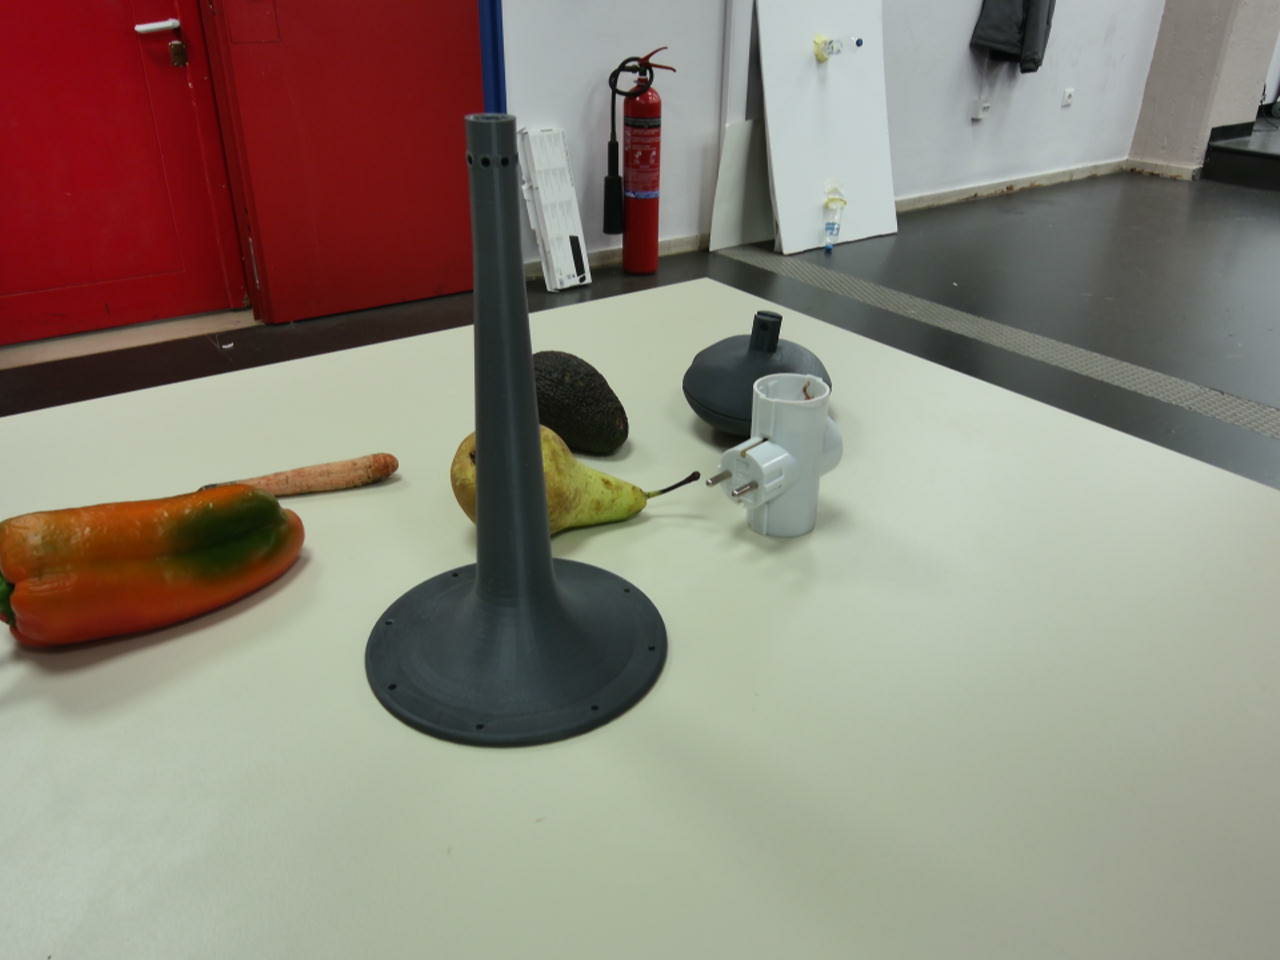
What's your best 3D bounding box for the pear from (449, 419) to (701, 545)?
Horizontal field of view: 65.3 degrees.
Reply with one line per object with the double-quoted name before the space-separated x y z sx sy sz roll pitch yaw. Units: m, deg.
"pear" -0.043 -0.007 0.599 0.144 0.075 0.071 -14 29 -26
